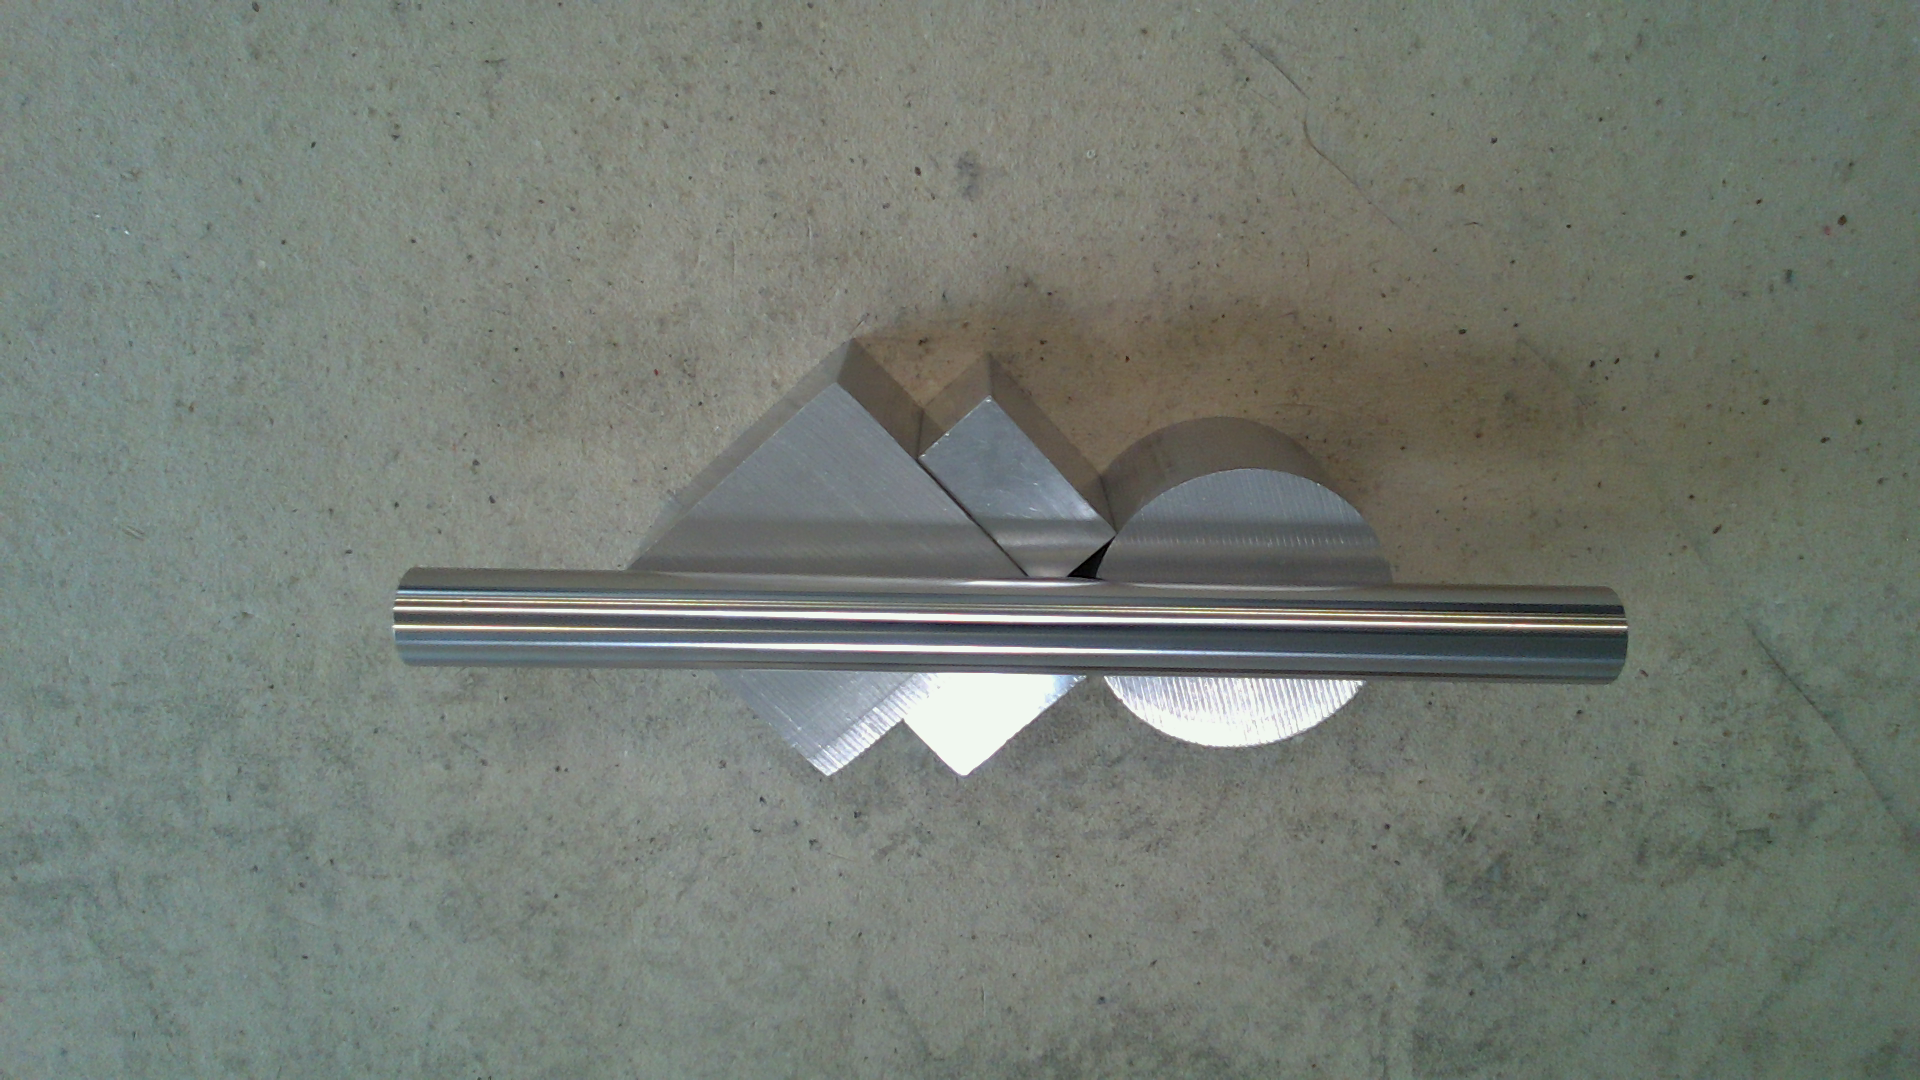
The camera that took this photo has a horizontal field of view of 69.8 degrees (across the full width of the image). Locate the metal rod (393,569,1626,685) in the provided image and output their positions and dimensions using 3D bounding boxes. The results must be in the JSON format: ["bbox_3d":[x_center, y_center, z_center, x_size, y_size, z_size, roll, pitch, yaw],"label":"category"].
[{"bbox_3d":[0.013,0.022,0.347,0.300,0.025,0.025,1,110,-1],"label":"metal rod"}]

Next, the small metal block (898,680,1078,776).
[{"bbox_3d":[0.010,0.032,0.394,0.050,0.050,0.025,-41,106,13],"label":"small metal block"}]

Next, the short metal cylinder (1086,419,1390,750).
[{"bbox_3d":[0.074,0.011,0.385,0.080,0.050,0.080,0,110,0],"label":"short metal cylinder"}]

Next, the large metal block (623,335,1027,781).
[{"bbox_3d":[-0.034,0.004,0.381,0.080,0.050,0.080,-40,105,13],"label":"large metal block"}]

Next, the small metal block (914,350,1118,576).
[{"bbox_3d":[0.015,-0.020,0.374,0.025,0.050,0.050,-41,106,14],"label":"small metal block"}]
